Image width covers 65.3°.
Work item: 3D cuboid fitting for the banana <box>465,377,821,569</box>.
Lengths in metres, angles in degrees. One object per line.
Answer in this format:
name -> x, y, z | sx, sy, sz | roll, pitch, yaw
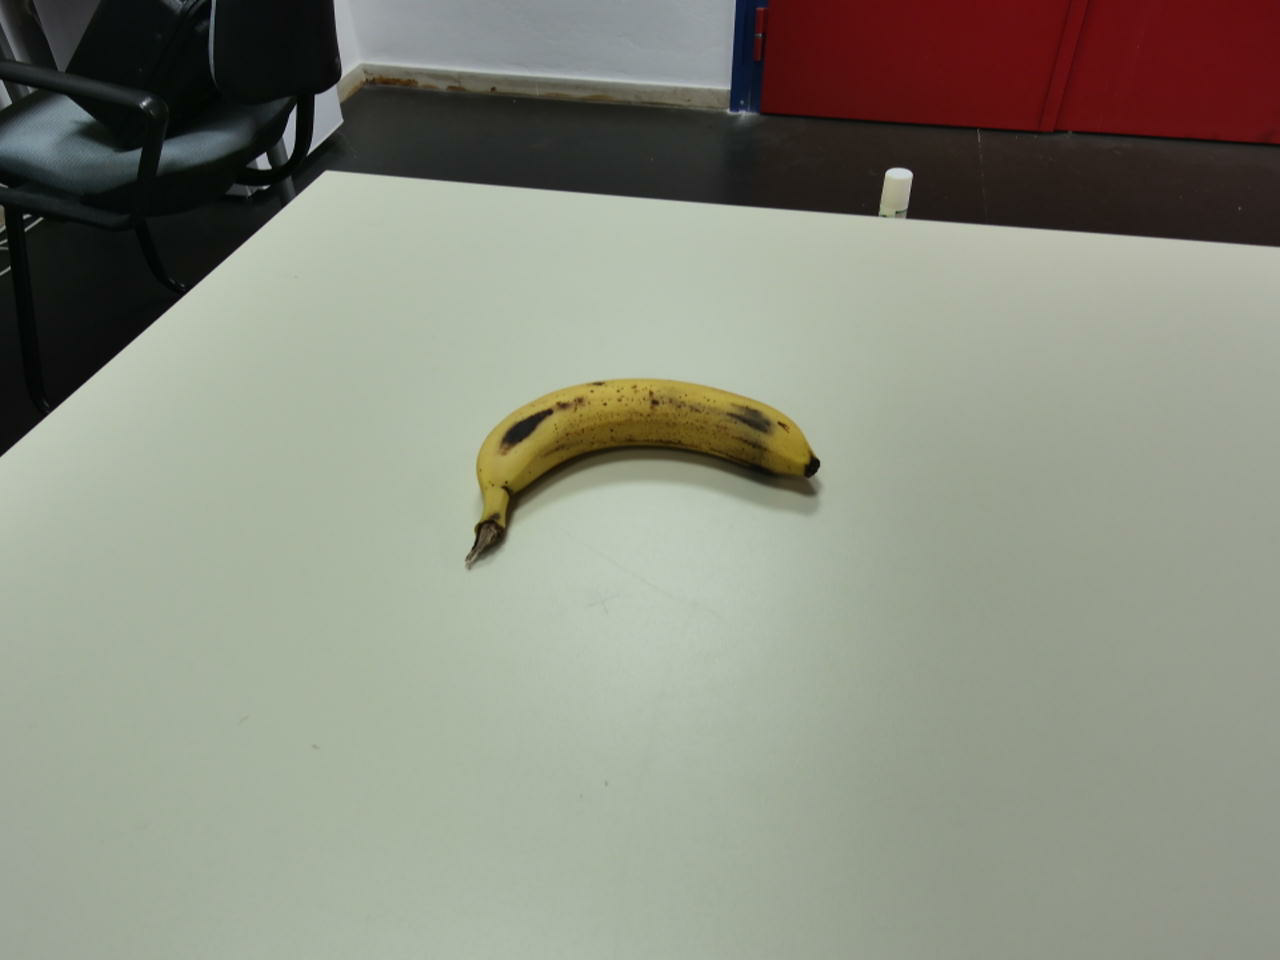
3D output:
banana -> -0.004, -0.020, 0.547 | 0.186, 0.038, 0.097 | -9, 40, -12
